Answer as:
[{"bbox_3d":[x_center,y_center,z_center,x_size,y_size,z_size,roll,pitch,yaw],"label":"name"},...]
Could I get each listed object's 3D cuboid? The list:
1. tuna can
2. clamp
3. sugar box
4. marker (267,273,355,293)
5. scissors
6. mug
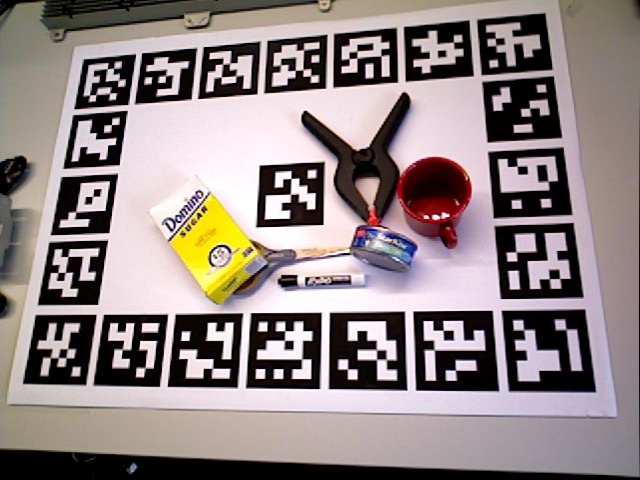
[{"bbox_3d":[0.083,0.013,0.706,0.086,0.086,0.033,15,74,14],"label":"tuna can"},{"bbox_3d":[0.060,-0.112,0.785,0.165,0.037,0.201,-12,73,6],"label":"clamp"},{"bbox_3d":[-0.165,-0.003,0.772,0.092,0.045,0.176,-37,65,-3],"label":"sugar box"},{"bbox_3d":[-0.013,0.060,0.744,0.121,0.020,0.019,-5,72,9],"label":"marker"},{"bbox_3d":[-0.058,0.021,0.762,0.202,0.016,0.087,-12,68,5],"label":"scissors"},{"bbox_3d":[0.143,-0.038,0.715,0.093,0.082,0.116,-28,67,0],"label":"mug"}]
